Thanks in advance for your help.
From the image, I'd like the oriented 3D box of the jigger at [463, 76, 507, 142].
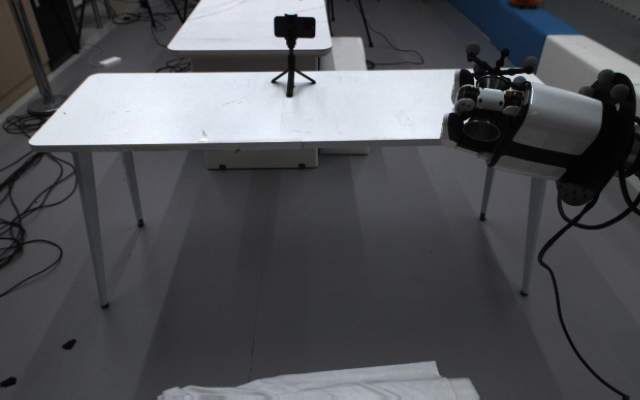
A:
[{"bbox_3d":[0.203,-0.111,0.584,0.043,0.043,0.071,12,70,14],"label":"jigger"}]
